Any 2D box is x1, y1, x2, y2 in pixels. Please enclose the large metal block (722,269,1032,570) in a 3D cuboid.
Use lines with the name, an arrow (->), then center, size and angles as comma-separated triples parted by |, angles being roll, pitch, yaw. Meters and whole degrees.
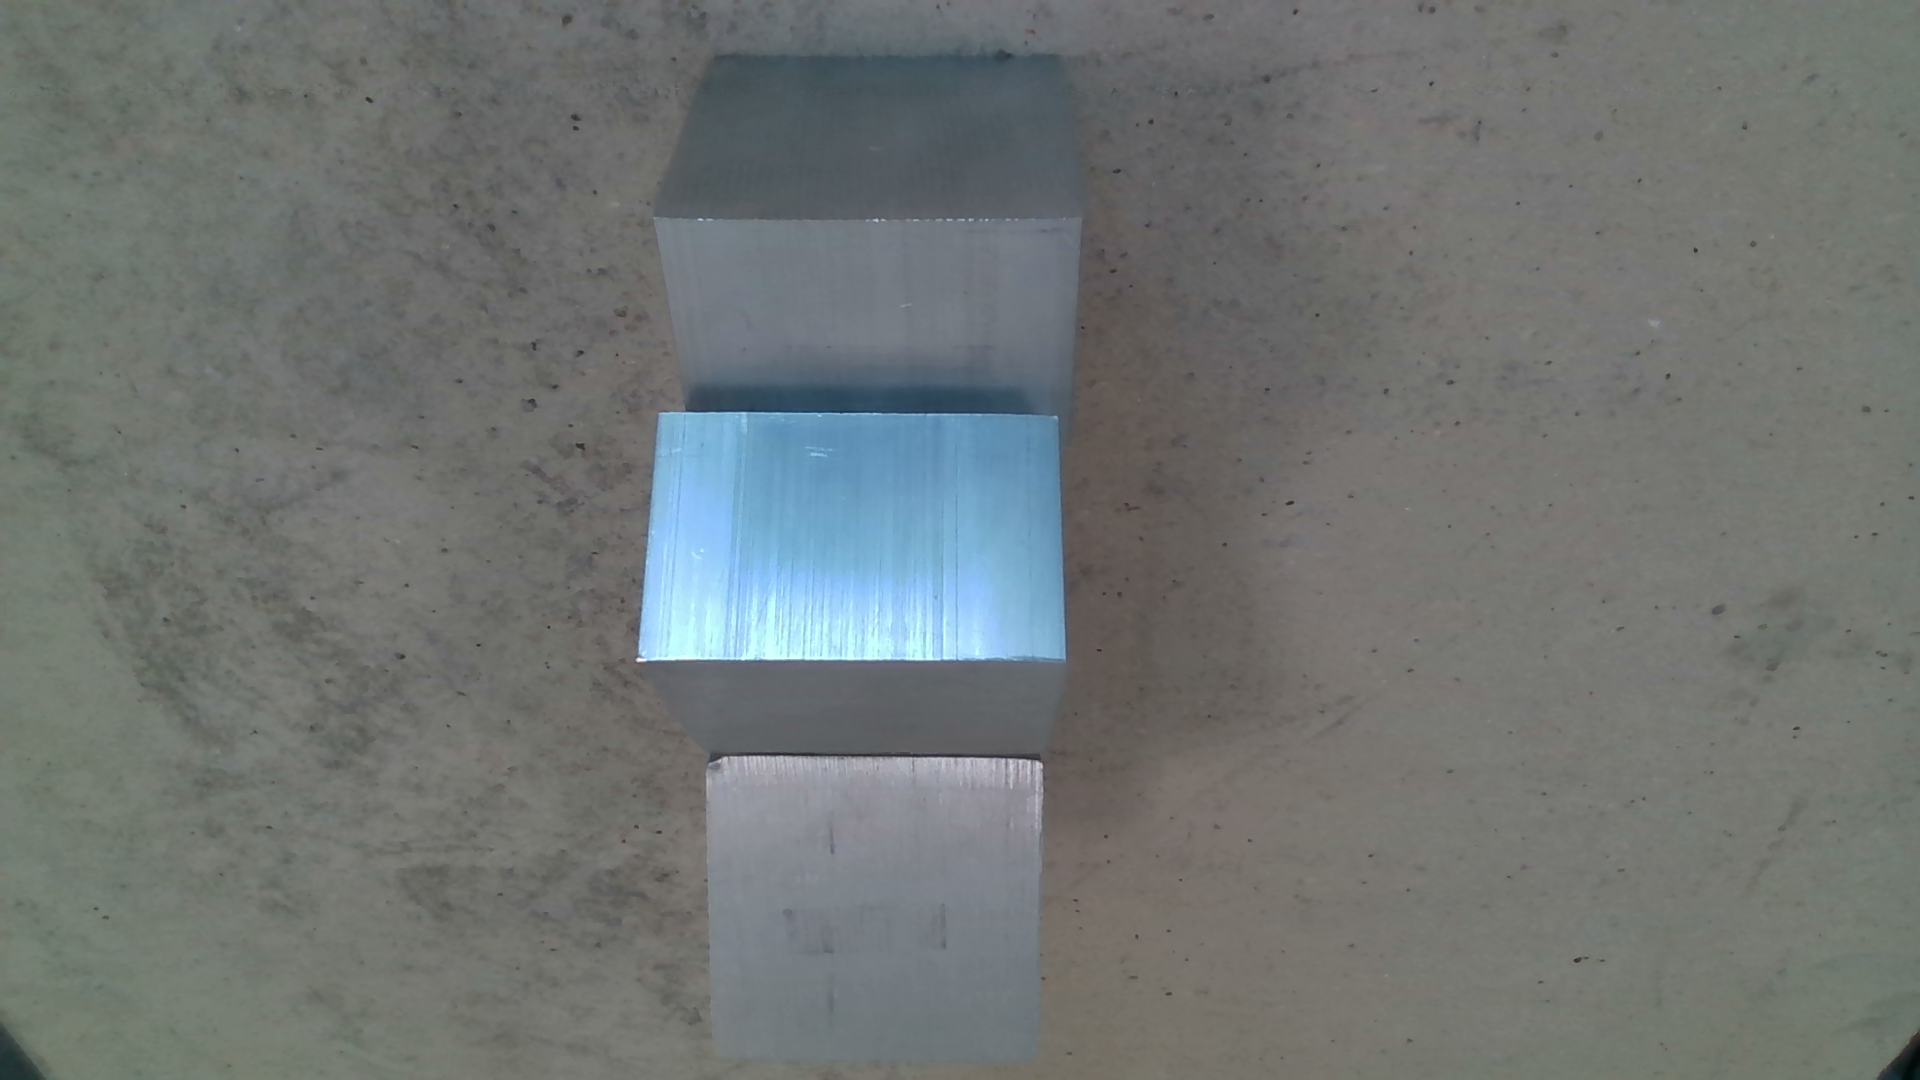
large metal block -> -0.020, -0.023, 0.353 | 0.080, 0.050, 0.080 | 0, 130, 0

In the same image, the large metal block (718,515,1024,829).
large metal block -> -0.023, 0.040, 0.405 | 0.080, 0.050, 0.080 | 0, 130, 0

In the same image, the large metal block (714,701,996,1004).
large metal block -> -0.030, 0.098, 0.438 | 0.080, 0.080, 0.050 | 0, 131, 0

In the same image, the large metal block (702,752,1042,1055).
large metal block -> -0.022, 0.084, 0.358 | 0.080, 0.050, 0.080 | 1, 104, -1

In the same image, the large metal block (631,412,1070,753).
large metal block -> -0.020, 0.013, 0.297 | 0.080, 0.050, 0.080 | 0, 159, 0

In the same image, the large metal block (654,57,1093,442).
large metal block -> -0.016, -0.064, 0.298 | 0.080, 0.080, 0.050 | -1, 130, -1
